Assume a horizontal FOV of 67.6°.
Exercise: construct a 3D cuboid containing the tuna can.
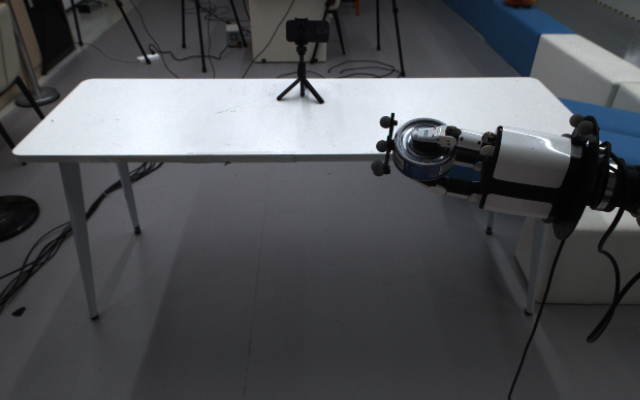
[{"bbox_3d":[0.144,-0.073,0.661,0.085,0.034,0.085,-2,57,3],"label":"tuna can"}]
